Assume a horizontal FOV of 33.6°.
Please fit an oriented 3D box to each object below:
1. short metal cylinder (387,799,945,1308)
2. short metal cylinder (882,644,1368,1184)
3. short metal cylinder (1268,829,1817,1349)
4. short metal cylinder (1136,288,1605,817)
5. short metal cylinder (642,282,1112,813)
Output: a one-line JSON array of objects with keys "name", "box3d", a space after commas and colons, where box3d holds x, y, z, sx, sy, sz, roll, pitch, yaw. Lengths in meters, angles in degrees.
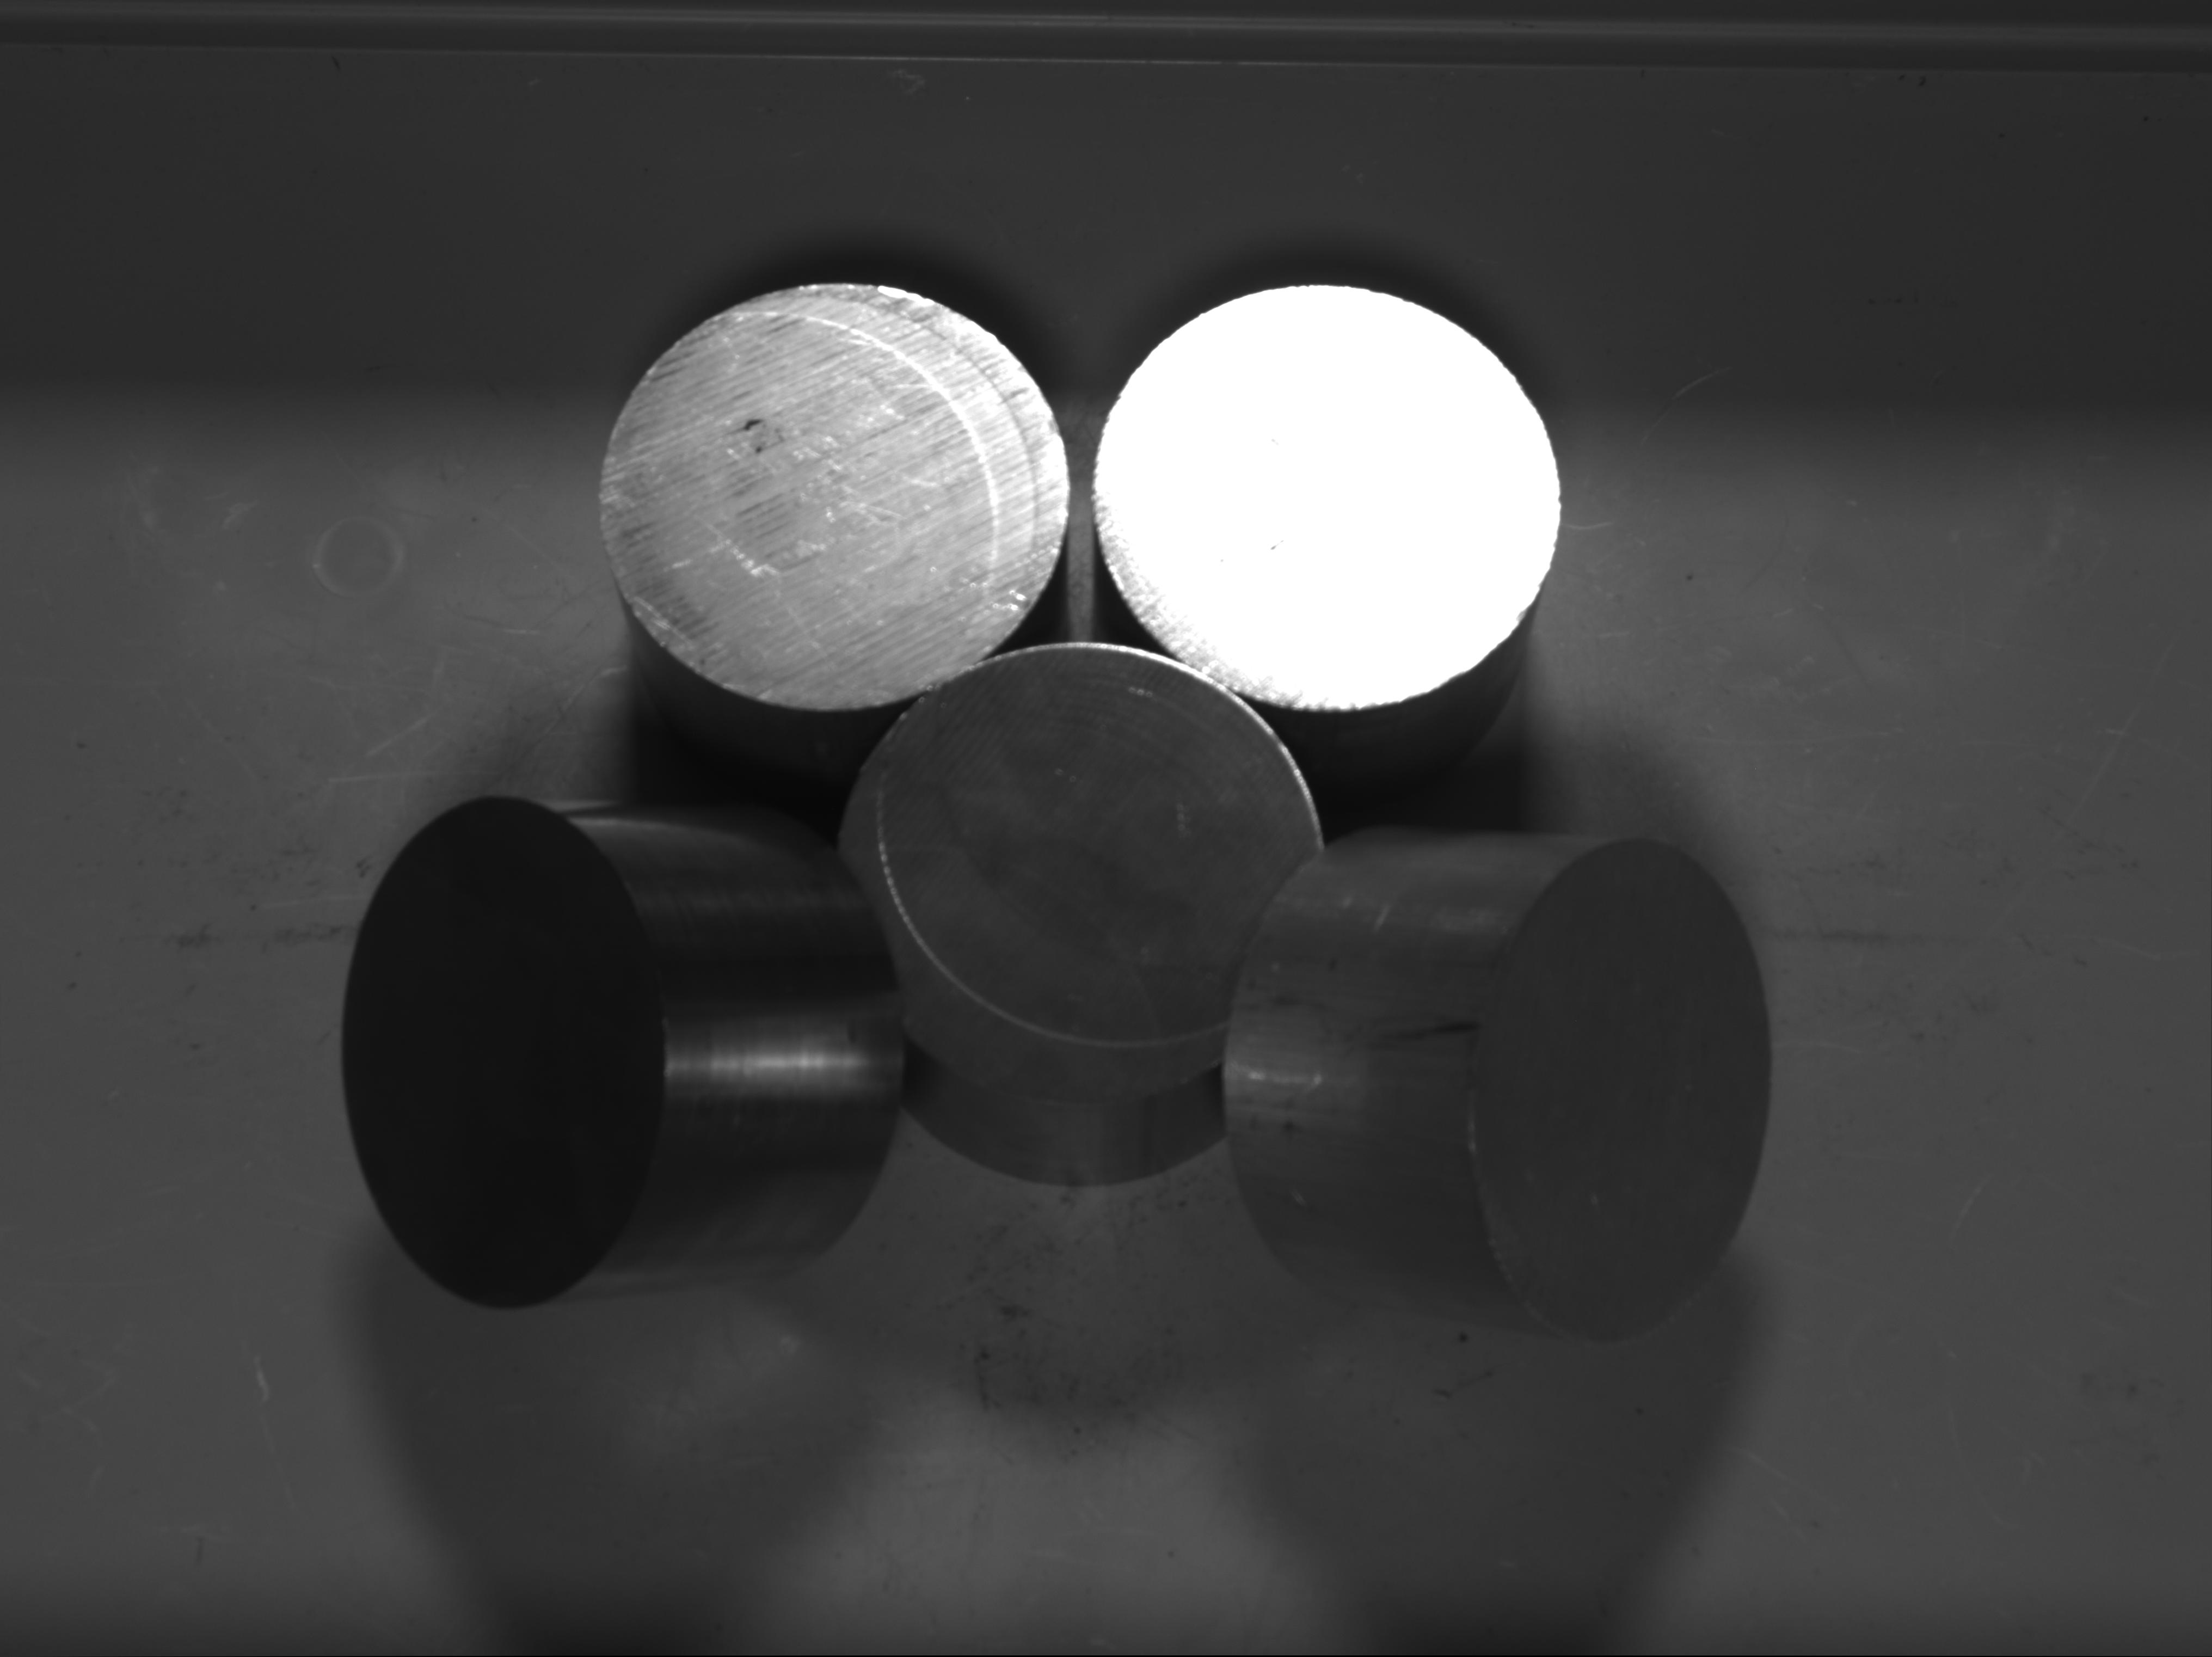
[{"name": "short metal cylinder", "box3d": [-0.072, 0.036, 0.595, 0.050, 0.080, 0.080, 1, 61, -47]}, {"name": "short metal cylinder", "box3d": [0.003, 0.015, 0.623, 0.080, 0.050, 0.080, 0, 70, 0]}, {"name": "short metal cylinder", "box3d": [0.072, 0.041, 0.593, 0.050, 0.080, 0.080, 3, 63, 44]}, {"name": "short metal cylinder", "box3d": [0.045, -0.048, 0.648, 0.080, 0.050, 0.080, 0, 70, 0]}, {"name": "short metal cylinder", "box3d": [-0.039, -0.049, 0.647, 0.080, 0.050, 0.080, 0, 70, 0]}]
